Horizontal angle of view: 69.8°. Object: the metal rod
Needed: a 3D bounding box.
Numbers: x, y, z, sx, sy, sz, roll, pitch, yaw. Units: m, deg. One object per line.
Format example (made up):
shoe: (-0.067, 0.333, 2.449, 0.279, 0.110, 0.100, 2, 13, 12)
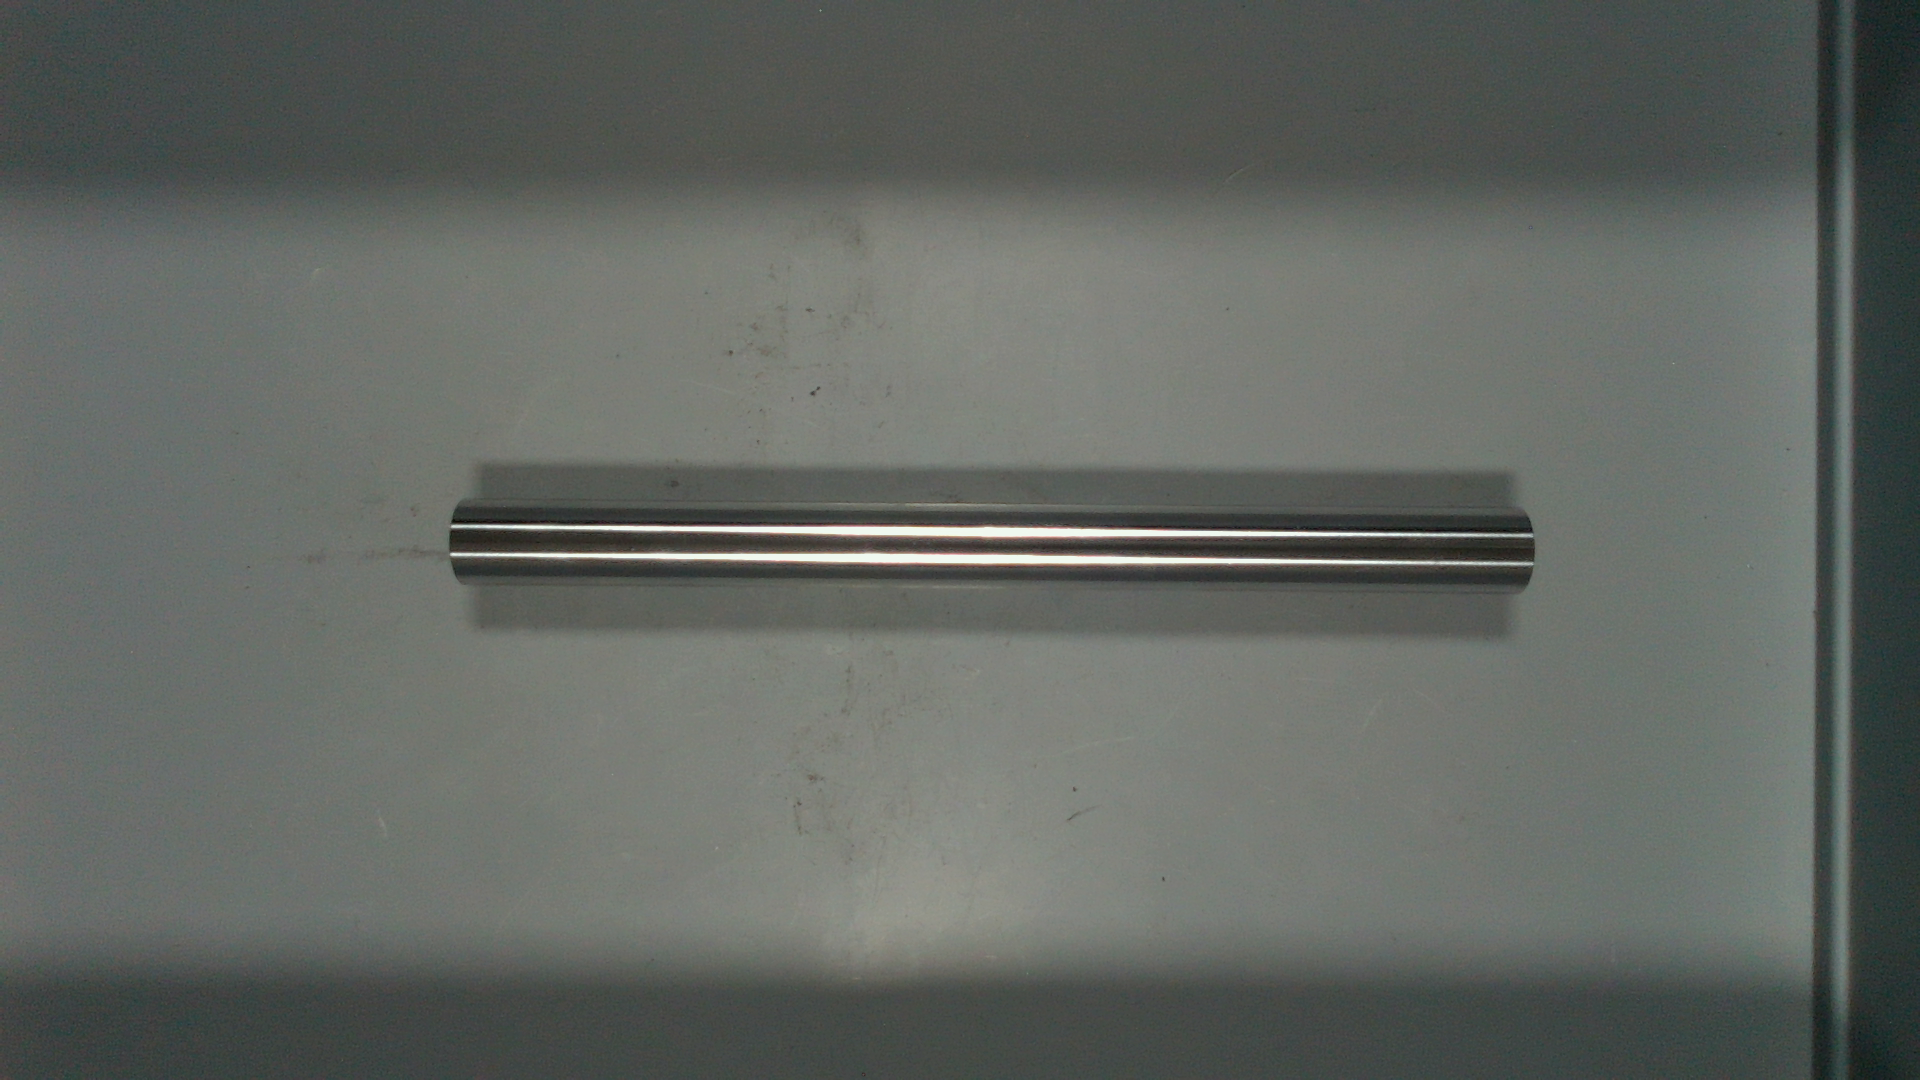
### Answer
metal rod: (0.009, 0.002, 0.394, 0.300, 0.025, 0.025, 0, 90, 0)
